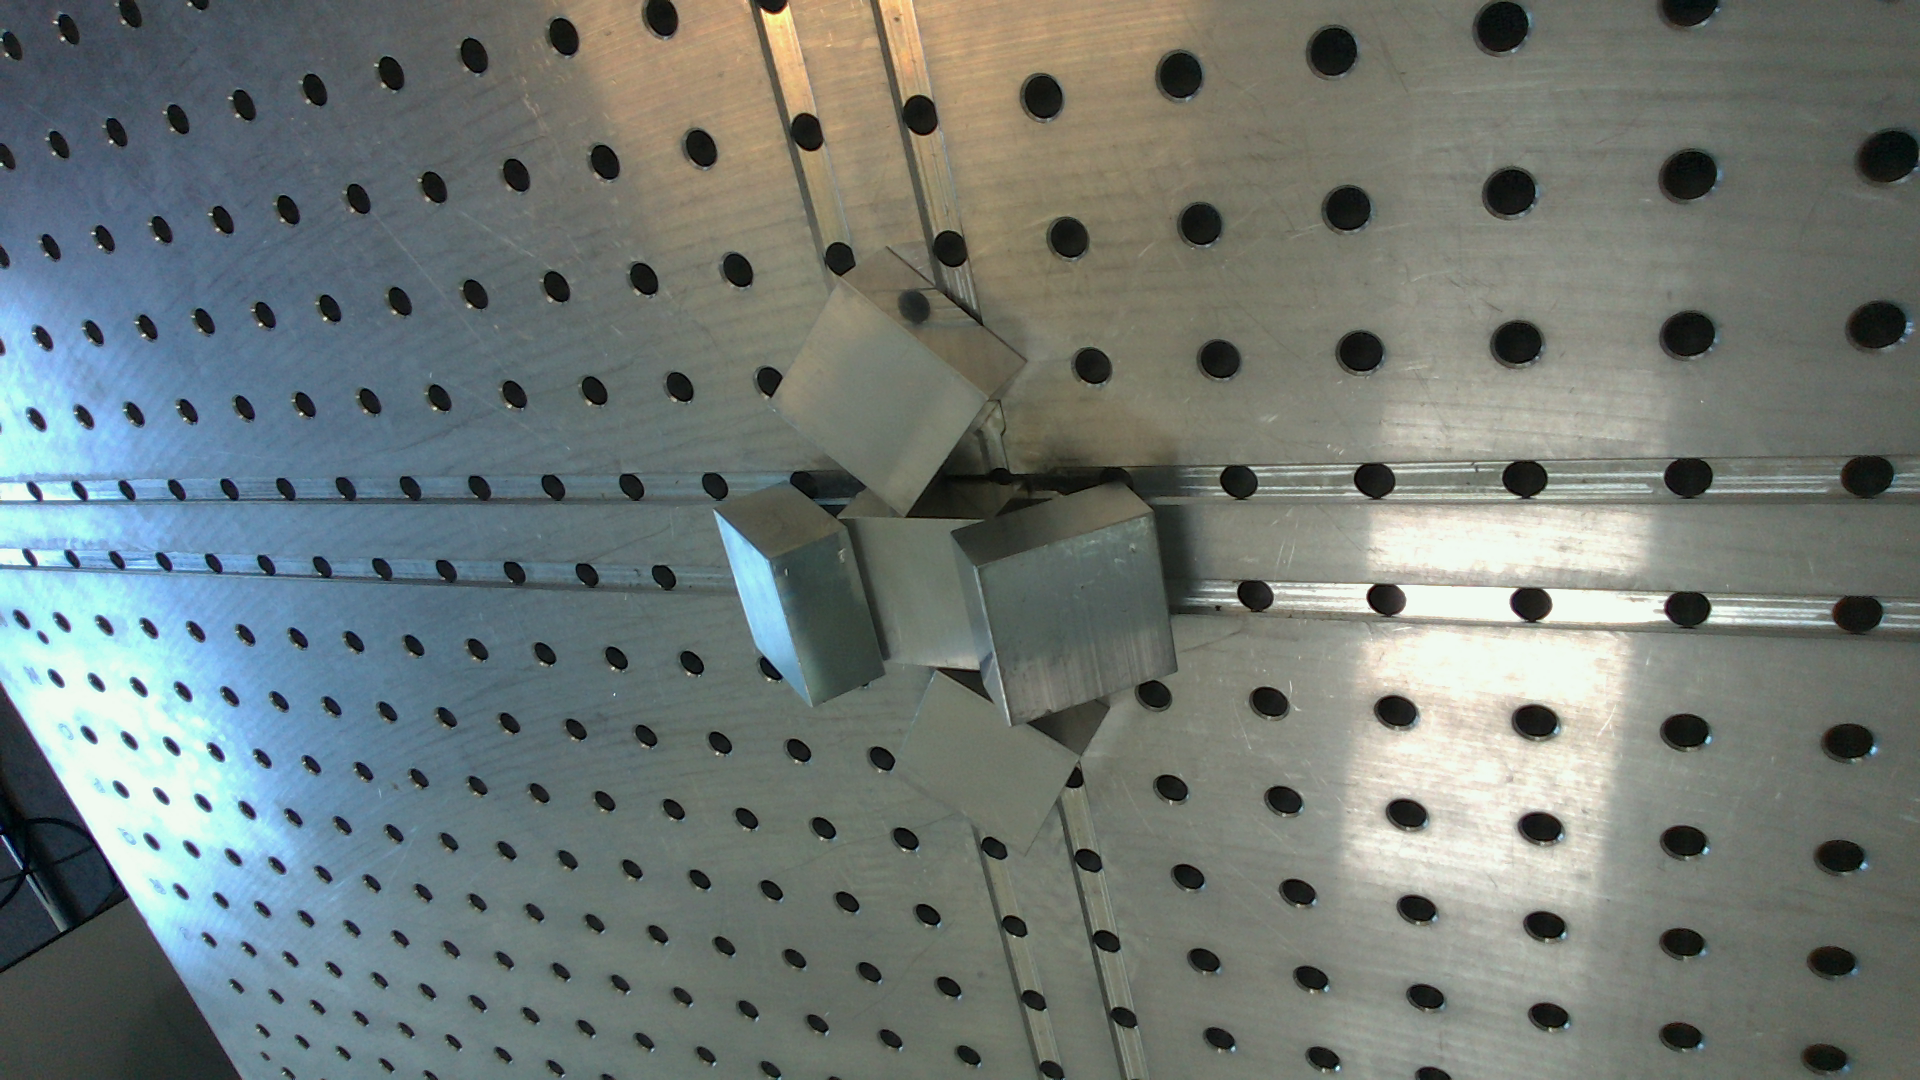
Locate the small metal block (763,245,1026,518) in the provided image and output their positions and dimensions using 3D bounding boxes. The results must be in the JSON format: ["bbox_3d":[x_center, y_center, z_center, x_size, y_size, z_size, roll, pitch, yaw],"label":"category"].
[{"bbox_3d":[-0.019,-0.043,0.379,0.050,0.025,0.050,40,129,2],"label":"small metal block"}]

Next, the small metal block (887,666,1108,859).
[{"bbox_3d":[0.011,0.063,0.428,0.050,0.025,0.050,31,129,10],"label":"small metal block"}]

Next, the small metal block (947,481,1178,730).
[{"bbox_3d":[0.028,0.017,0.374,0.050,0.025,0.050,-16,116,-9],"label":"small metal block"}]

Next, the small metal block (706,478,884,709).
[{"bbox_3d":[-0.050,0.015,0.416,0.050,0.025,0.050,34,143,56],"label":"small metal block"}]

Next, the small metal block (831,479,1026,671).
[{"bbox_3d":[-0.005,0.010,0.404,0.050,0.025,0.050,1,118,28],"label":"small metal block"}]
